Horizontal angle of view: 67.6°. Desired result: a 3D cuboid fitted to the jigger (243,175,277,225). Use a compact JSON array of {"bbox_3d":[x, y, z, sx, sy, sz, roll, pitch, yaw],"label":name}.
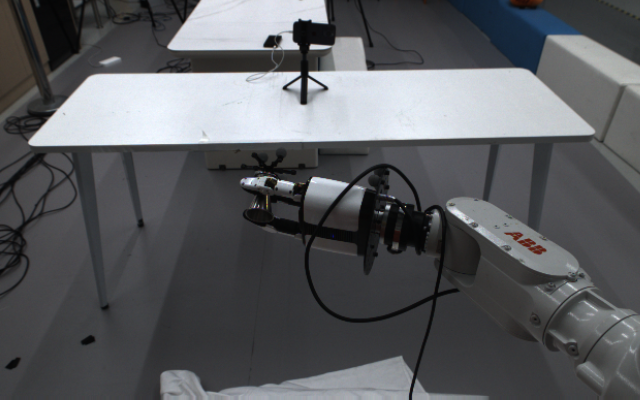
[{"bbox_3d":[-0.093,-0.006,0.749,0.043,0.043,0.071,6,61,6],"label":"jigger"}]
